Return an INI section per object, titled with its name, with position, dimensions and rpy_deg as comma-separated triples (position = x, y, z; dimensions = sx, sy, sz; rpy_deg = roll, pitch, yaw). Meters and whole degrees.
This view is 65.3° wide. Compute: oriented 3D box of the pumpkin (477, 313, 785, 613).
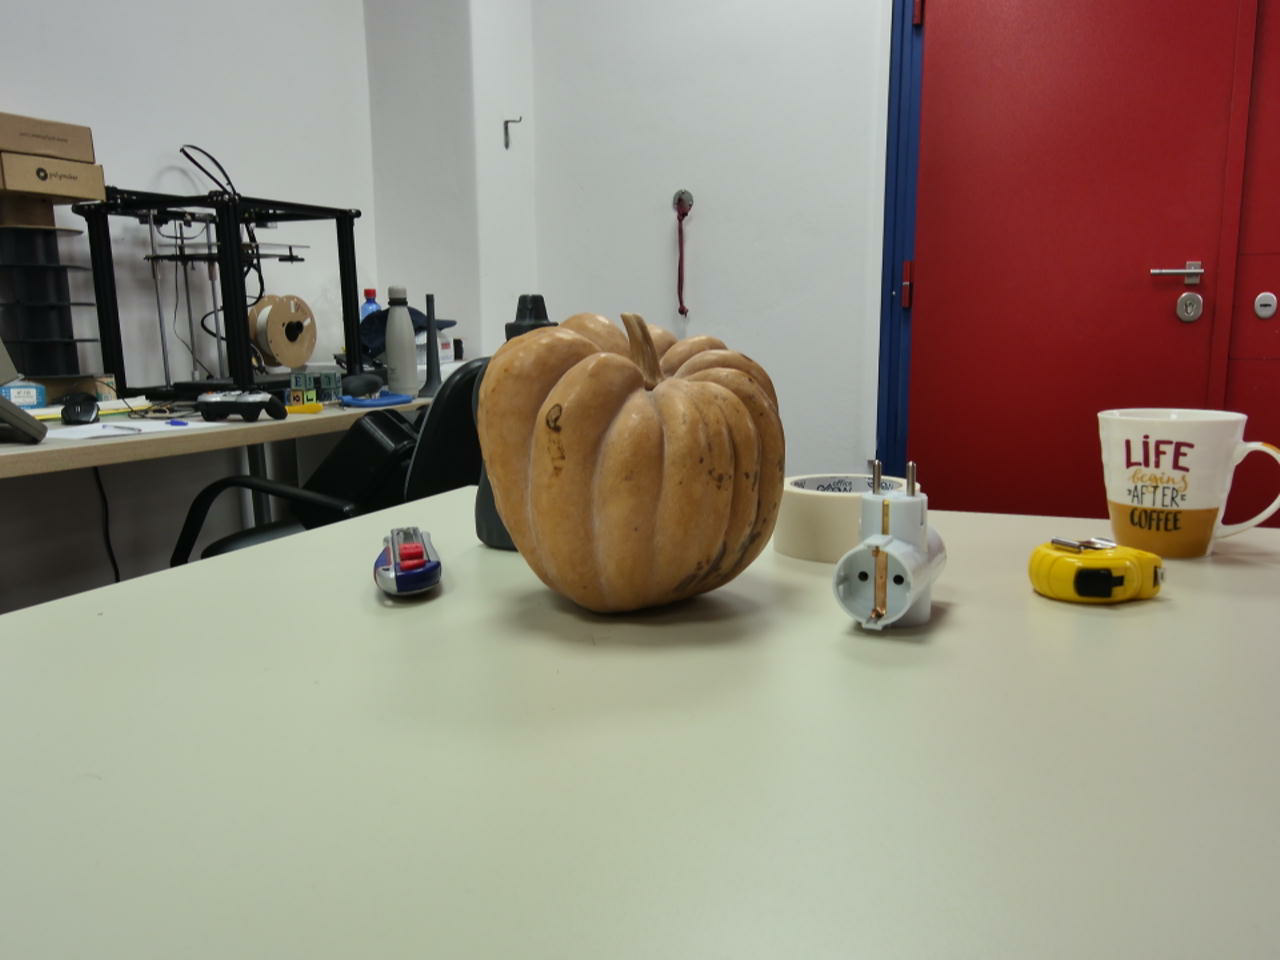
[pumpkin]
position = -0.008, -0.013, 0.608
dimensions = 0.199, 0.177, 0.198
rpy_deg = 0, 7, 0
